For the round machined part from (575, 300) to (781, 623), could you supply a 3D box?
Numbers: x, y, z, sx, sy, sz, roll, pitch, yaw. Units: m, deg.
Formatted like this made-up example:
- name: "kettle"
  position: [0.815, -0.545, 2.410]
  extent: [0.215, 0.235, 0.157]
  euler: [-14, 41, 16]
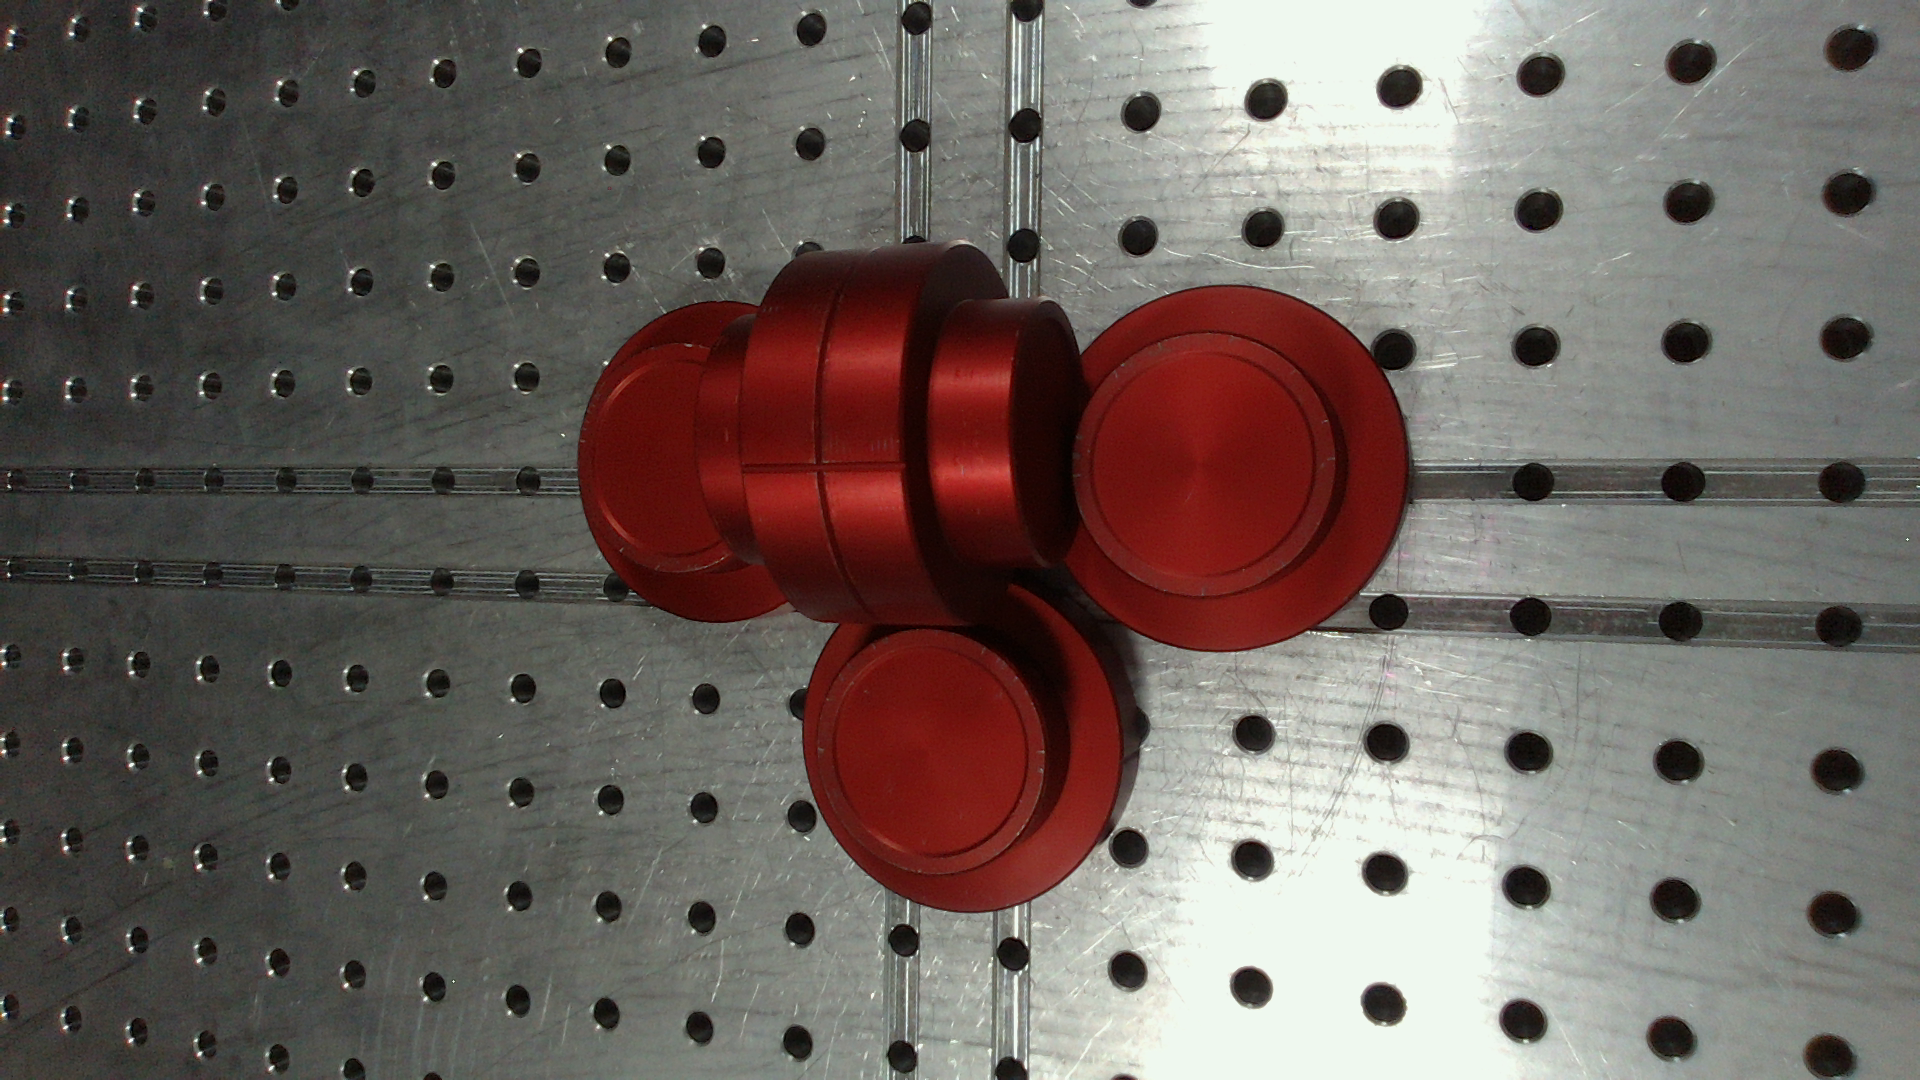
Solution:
- name: "round machined part"
  position: [-0.076, -0.024, 0.416]
  extent: [0.098, 0.042, 0.098]
  euler: [0, 90, 20]

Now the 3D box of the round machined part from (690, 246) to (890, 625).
- name: "round machined part"
  position: [-0.036, -0.027, 0.366]
  extent: [0.042, 0.098, 0.098]
  euler: [1, 91, 20]

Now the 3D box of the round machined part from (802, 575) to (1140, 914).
- name: "round machined part"
  position: [-0.001, 0.057, 0.390]
  extent: [0.098, 0.042, 0.098]
  euler: [0, 90, 20]

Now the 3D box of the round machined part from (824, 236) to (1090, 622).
- name: "round machined part"
  position: [0.005, -0.028, 0.352]
  extent: [0.042, 0.098, 0.098]
  euler: [-1, 90, 20]

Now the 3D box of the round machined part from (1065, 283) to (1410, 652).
- name: "round machined part"
  position: [0.068, -0.019, 0.364]
  extent: [0.098, 0.042, 0.098]
  euler: [0, 90, 20]
